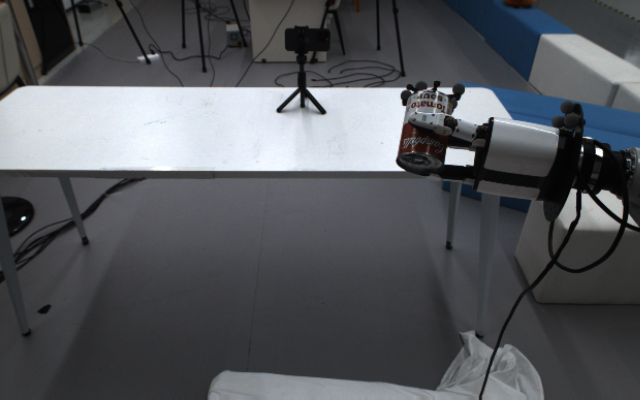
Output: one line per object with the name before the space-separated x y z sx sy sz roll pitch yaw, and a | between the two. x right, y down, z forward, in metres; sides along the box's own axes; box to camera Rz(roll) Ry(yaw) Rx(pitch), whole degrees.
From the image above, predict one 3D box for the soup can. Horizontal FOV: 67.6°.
soup can | 0.151 -0.099 0.694 0.067 0.067 0.101 9 72 10
